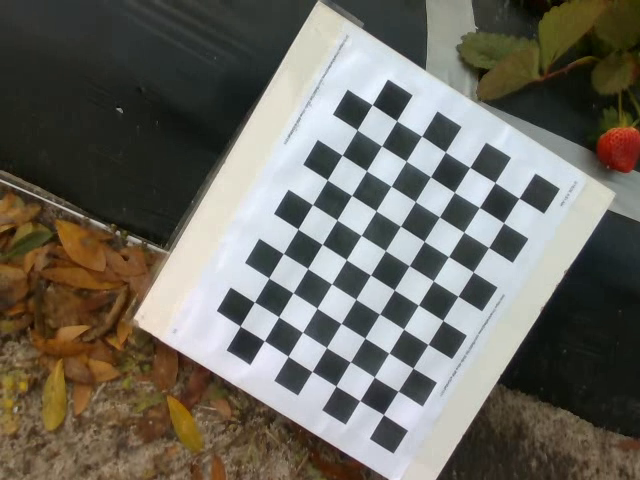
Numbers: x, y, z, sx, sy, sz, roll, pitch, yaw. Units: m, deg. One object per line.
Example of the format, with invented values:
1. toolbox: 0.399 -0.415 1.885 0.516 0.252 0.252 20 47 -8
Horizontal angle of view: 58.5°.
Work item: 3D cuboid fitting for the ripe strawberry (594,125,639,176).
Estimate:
1. ripe strawberry: 0.240 -0.071 0.468 0.039 0.047 0.041 -5 -4 10
